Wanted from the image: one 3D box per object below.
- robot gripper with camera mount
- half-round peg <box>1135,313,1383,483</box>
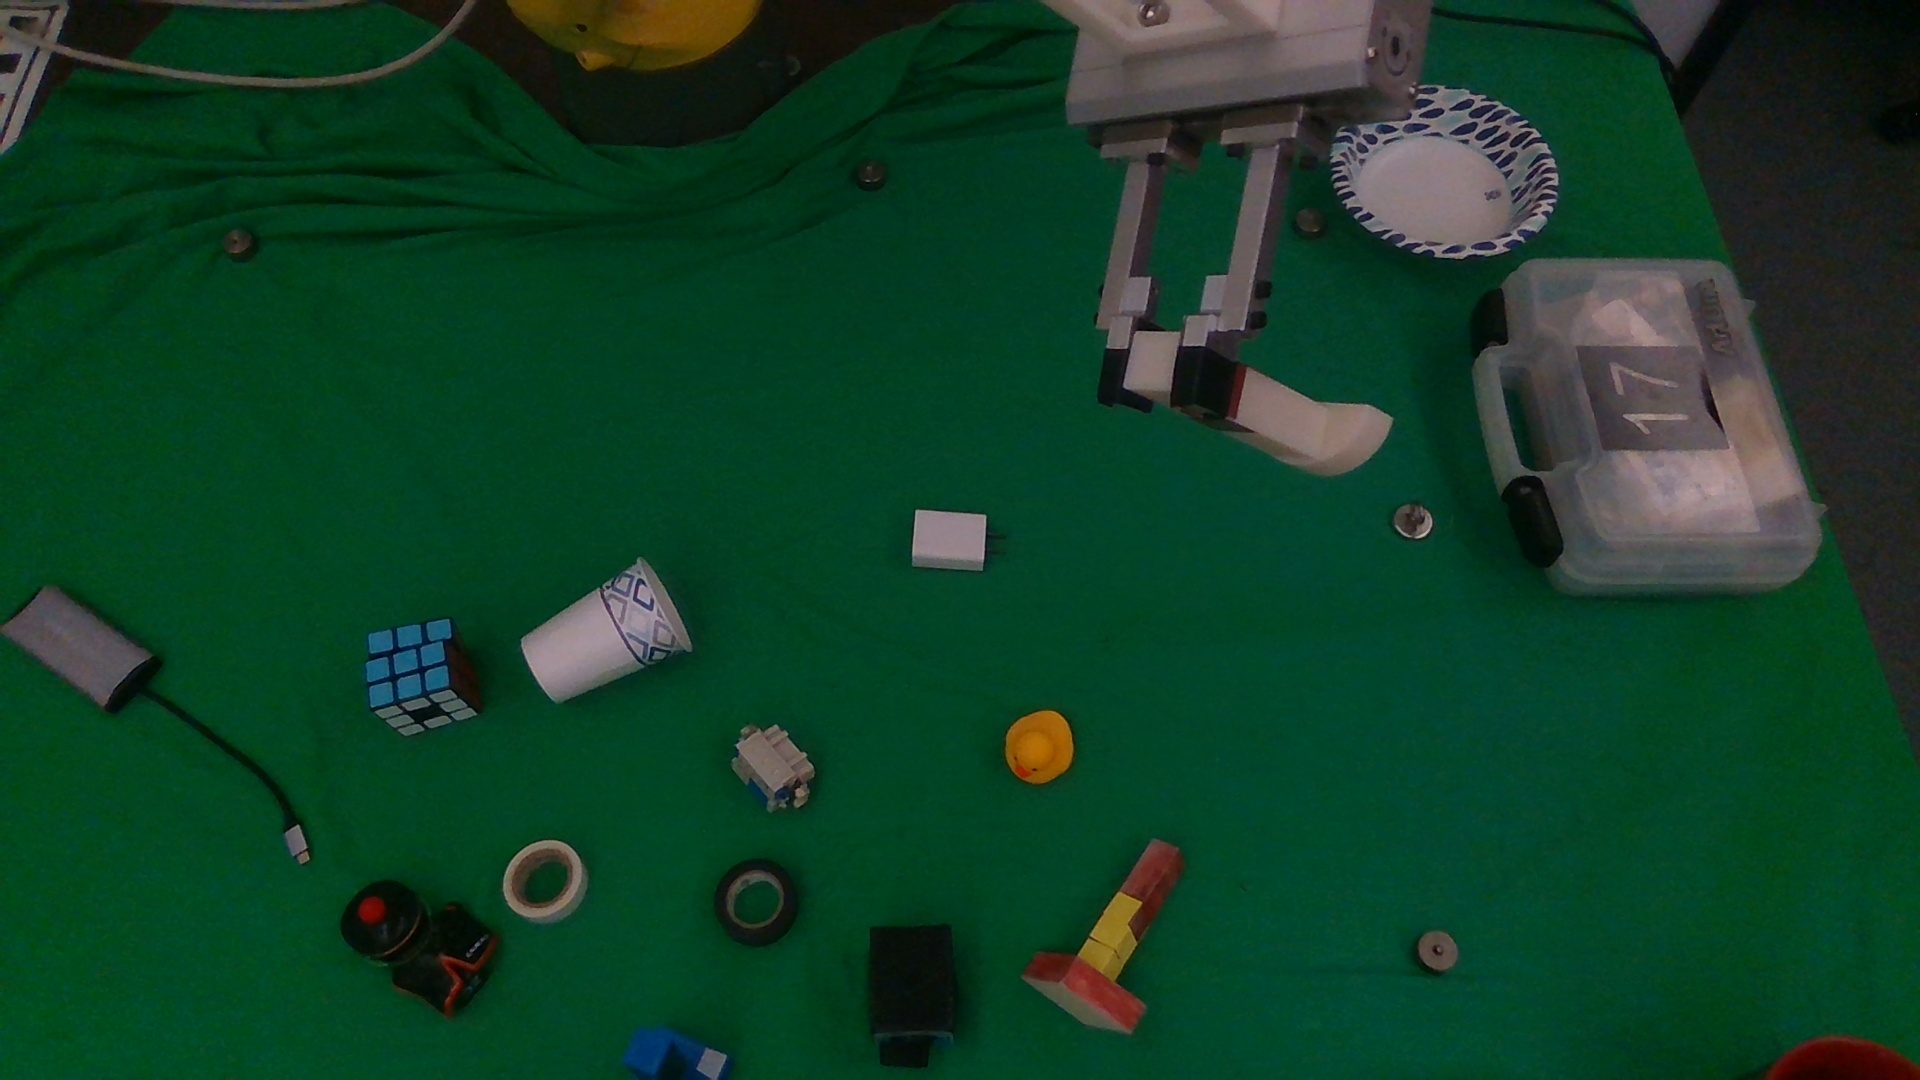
[{"bbox_3d":[0.035,-0.136,0.405,0.119,0.192,0.158,12,87,44],"label":"robot gripper with camera mount"},{"bbox_3d":[0.101,-0.050,0.495,0.055,0.121,0.031,7,81,42],"label":"half-round peg"}]
